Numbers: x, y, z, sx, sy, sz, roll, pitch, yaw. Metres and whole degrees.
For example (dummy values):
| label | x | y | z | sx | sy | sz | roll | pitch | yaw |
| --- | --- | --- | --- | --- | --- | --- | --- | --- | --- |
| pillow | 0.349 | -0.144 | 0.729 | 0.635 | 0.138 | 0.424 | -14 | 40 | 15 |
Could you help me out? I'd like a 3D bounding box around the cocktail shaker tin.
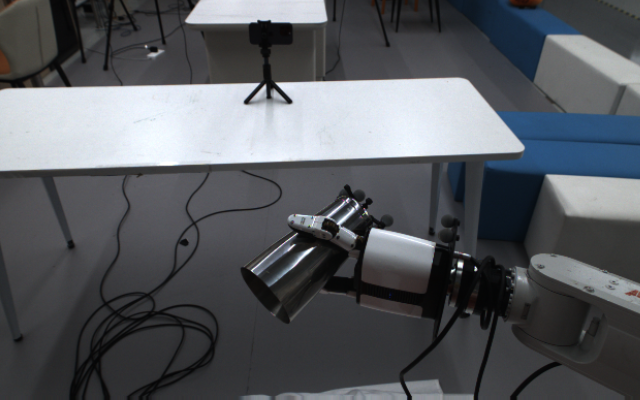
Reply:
| label | x | y | z | sx | sy | sz | roll | pitch | yaw |
| --- | --- | --- | --- | --- | --- | --- | --- | --- | --- |
| cocktail shaker tin | -0.009 | 0.066 | 0.637 | 0.170 | 0.093 | 0.093 | -38 | 49 | -23 |
